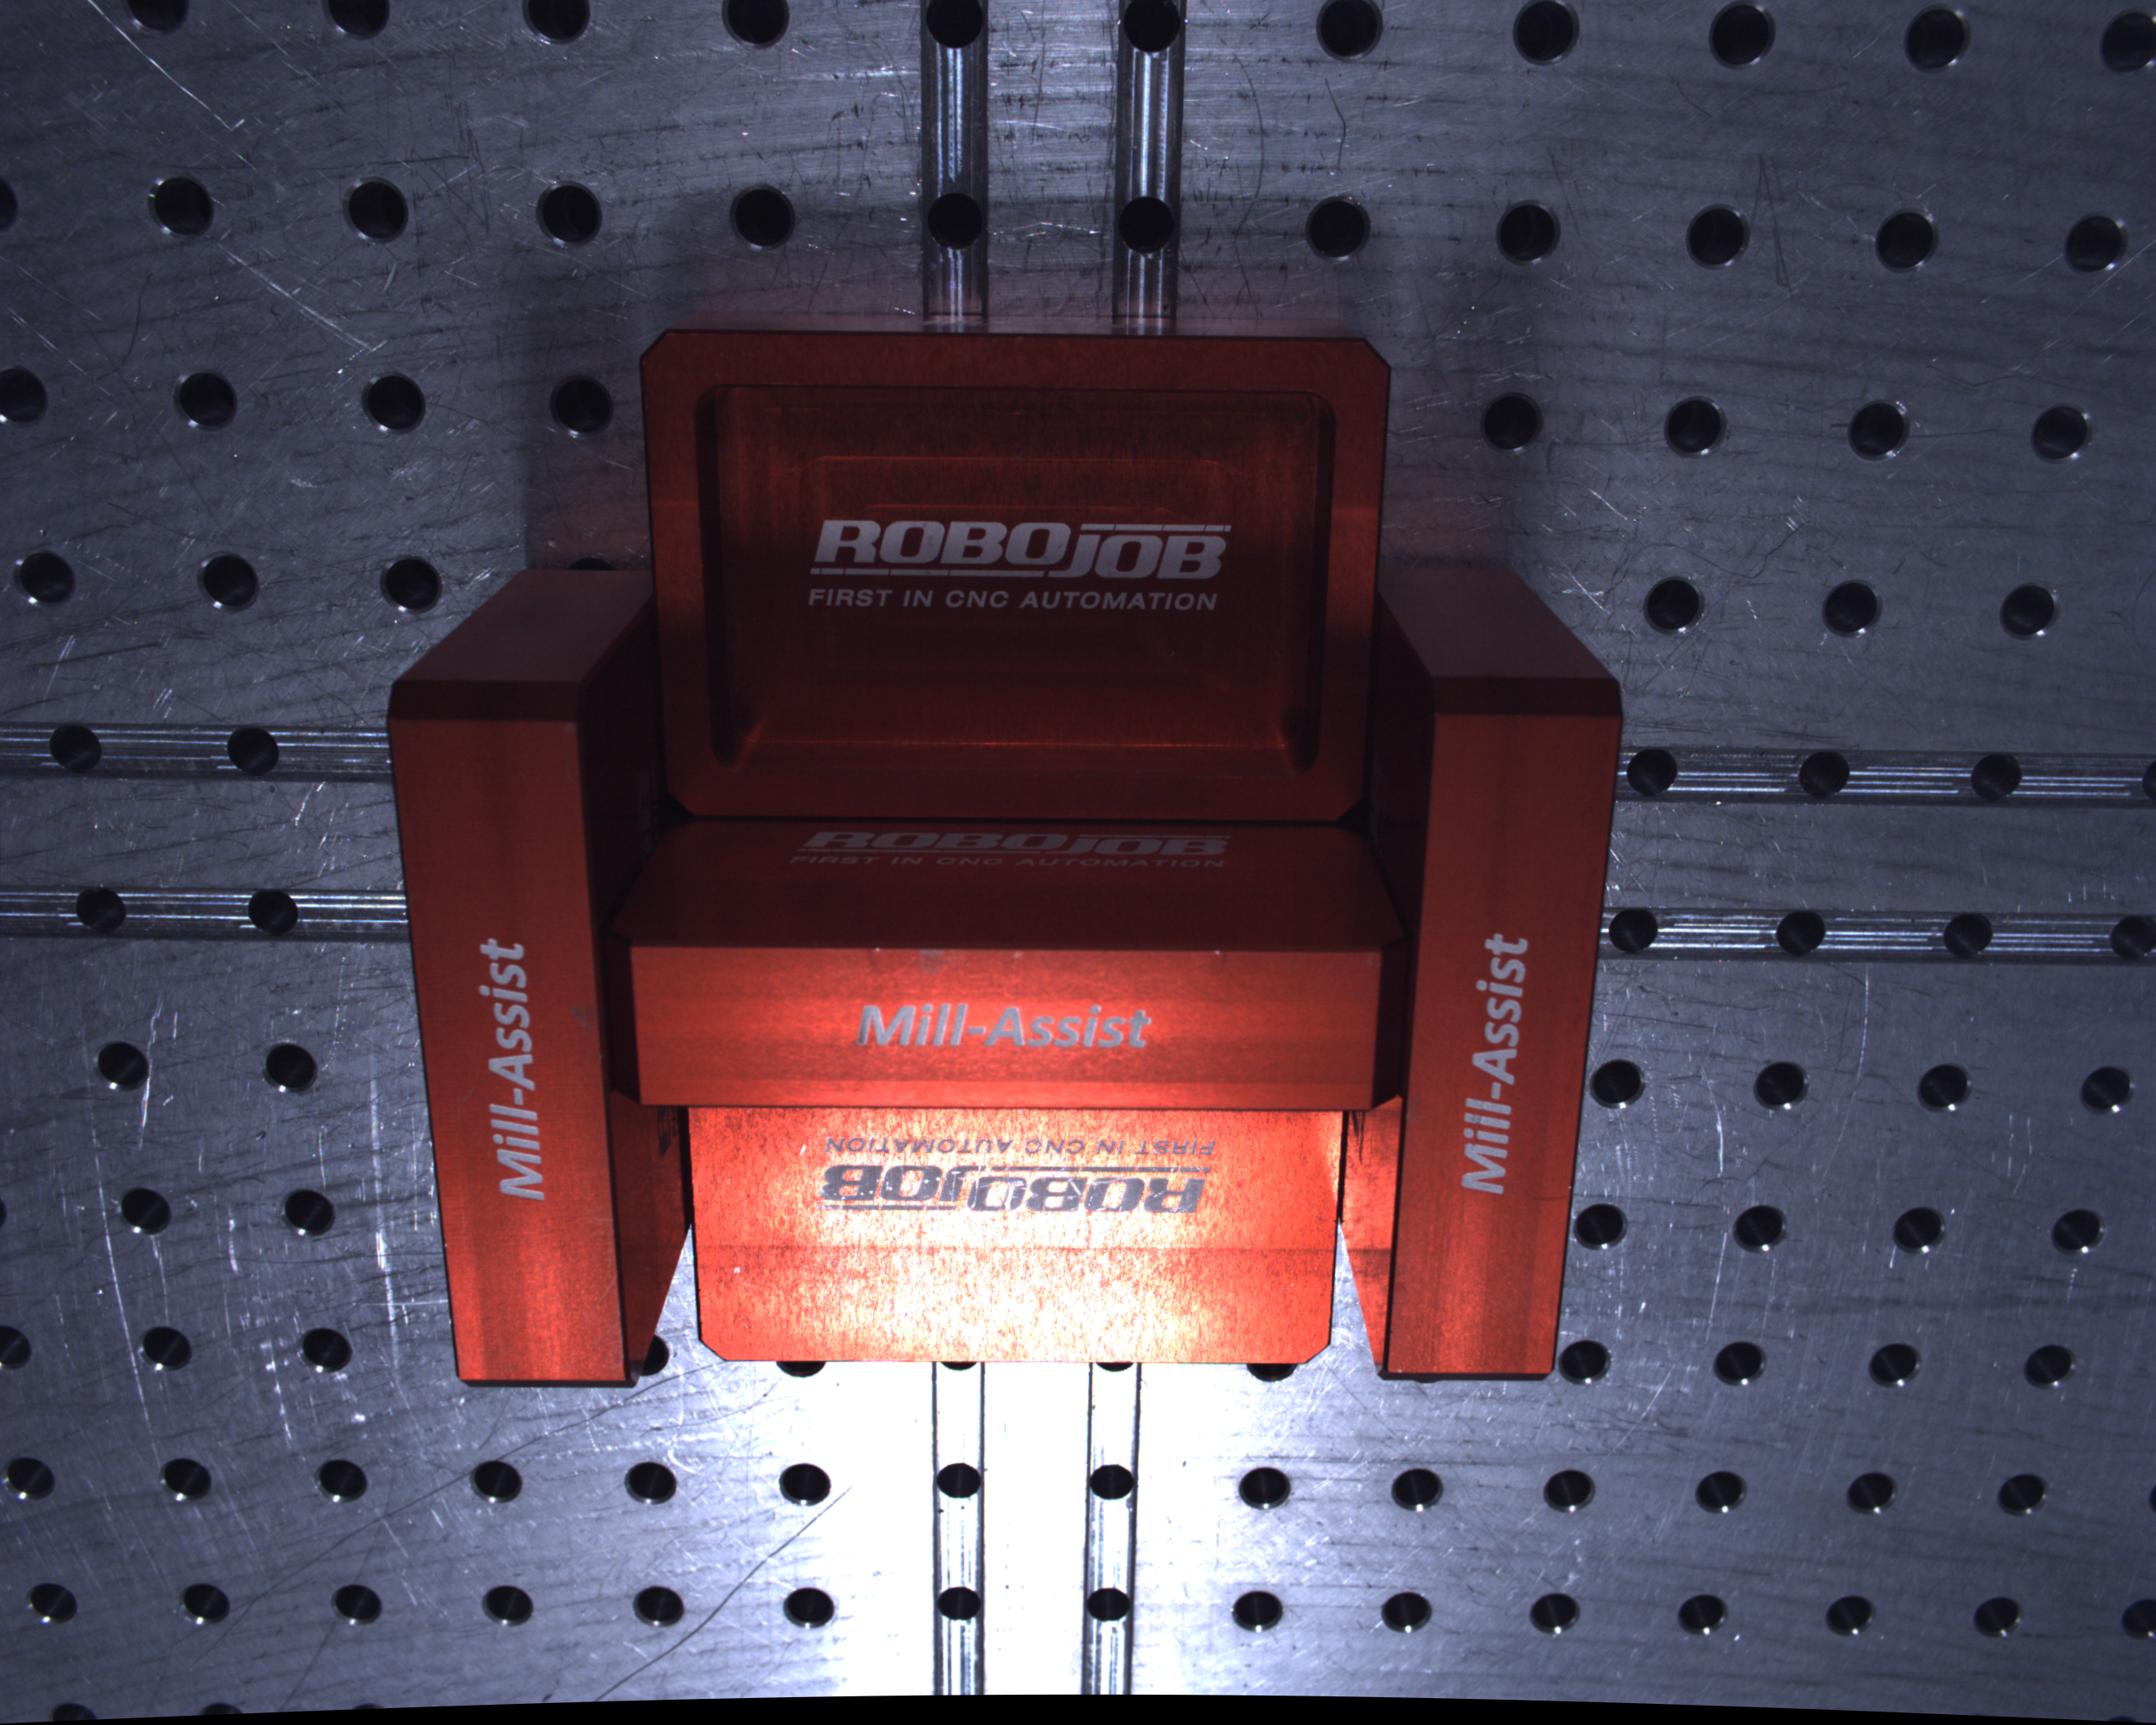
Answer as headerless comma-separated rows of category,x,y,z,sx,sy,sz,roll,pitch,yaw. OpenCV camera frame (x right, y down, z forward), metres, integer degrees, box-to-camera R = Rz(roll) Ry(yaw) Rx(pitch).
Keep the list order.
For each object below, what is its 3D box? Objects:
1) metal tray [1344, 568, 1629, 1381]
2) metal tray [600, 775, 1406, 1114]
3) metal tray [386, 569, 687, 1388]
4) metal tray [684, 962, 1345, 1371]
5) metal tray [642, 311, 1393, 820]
metal tray,0.069,0.018,0.386,0.030,0.090,0.129,1,110,-1
metal tray,-0.012,0.012,0.381,0.131,0.090,0.030,1,110,-1
metal tray,-0.093,0.018,0.383,0.030,0.090,0.129,1,110,-1
metal tray,-0.013,0.059,0.431,0.131,0.030,0.089,1,110,-1
metal tray,-0.011,-0.055,0.390,0.131,0.030,0.089,1,110,-1
